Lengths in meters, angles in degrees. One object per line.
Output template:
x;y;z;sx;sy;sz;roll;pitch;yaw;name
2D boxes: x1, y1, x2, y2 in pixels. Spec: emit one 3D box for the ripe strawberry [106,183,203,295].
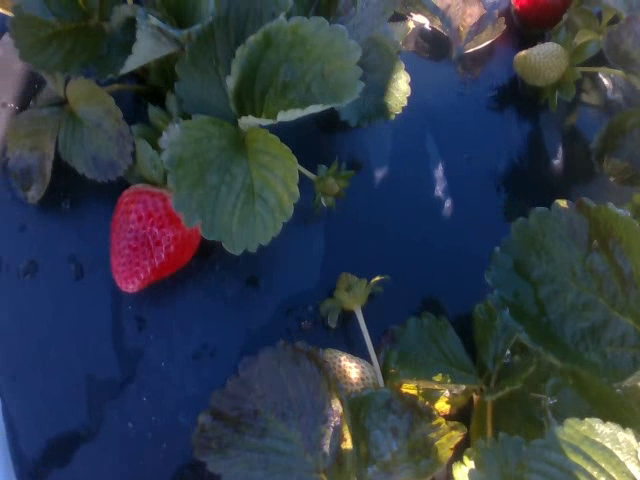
-0.077;0.000;0.277;0.045;0.059;0.042;9;-19;35;ripe strawberry
